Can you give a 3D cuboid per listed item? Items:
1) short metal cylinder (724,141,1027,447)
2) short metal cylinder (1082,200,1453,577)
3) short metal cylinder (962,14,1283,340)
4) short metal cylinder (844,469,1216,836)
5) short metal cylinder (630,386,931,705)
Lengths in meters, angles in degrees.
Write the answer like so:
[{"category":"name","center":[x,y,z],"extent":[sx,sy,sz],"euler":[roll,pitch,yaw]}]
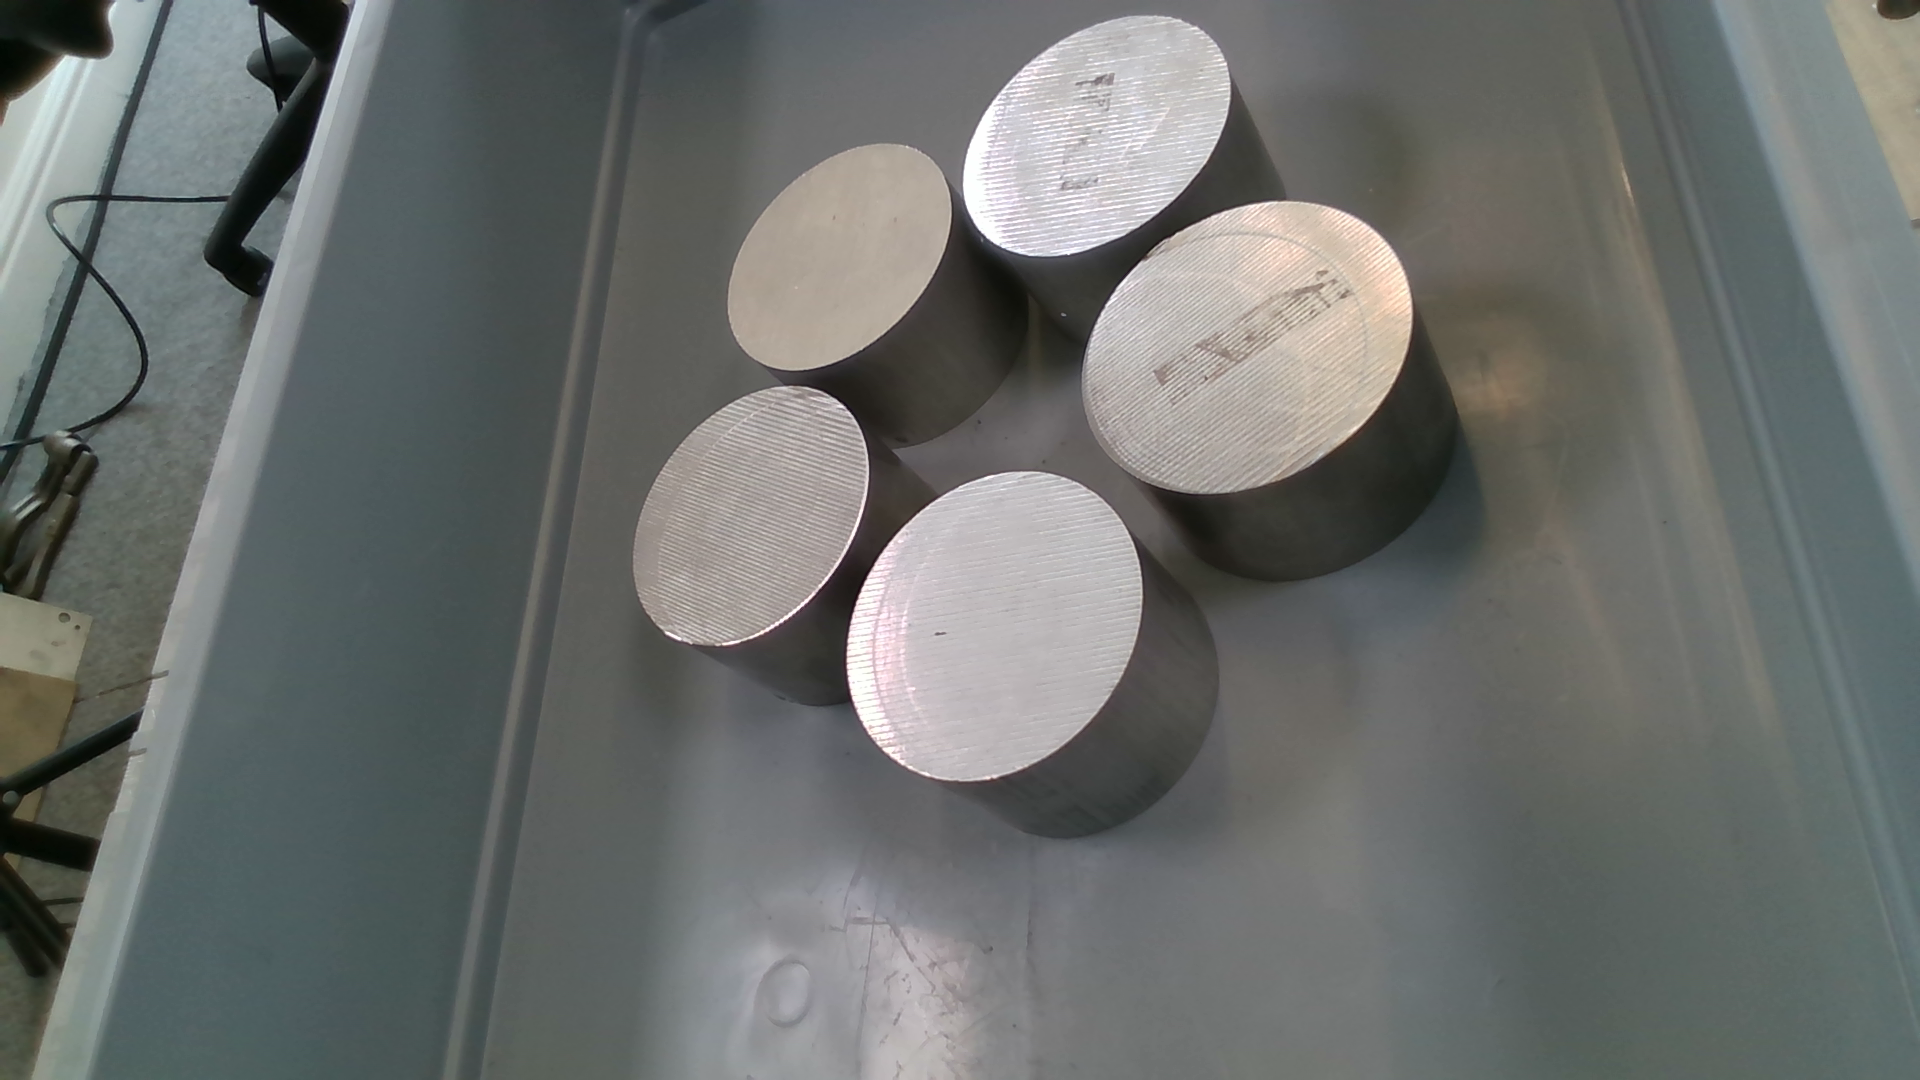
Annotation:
[{"category":"short metal cylinder","center":[-0.026,-0.076,0.431],"extent":[0.080,0.050,0.080],"euler":[-14,59,25]},{"category":"short metal cylinder","center":[0.078,-0.037,0.347],"extent":[0.080,0.050,0.080],"euler":[-14,59,25]},{"category":"short metal cylinder","center":[0.048,-0.103,0.400],"extent":[0.080,0.050,0.080],"euler":[-14,59,25]},{"category":"short metal cylinder","center":[0.018,0.029,0.348],"extent":[0.080,0.050,0.080],"euler":[-14,59,25]},{"category":"short metal cylinder","center":[-0.049,0.002,0.404],"extent":[0.080,0.050,0.080],"euler":[-14,59,25]}]
